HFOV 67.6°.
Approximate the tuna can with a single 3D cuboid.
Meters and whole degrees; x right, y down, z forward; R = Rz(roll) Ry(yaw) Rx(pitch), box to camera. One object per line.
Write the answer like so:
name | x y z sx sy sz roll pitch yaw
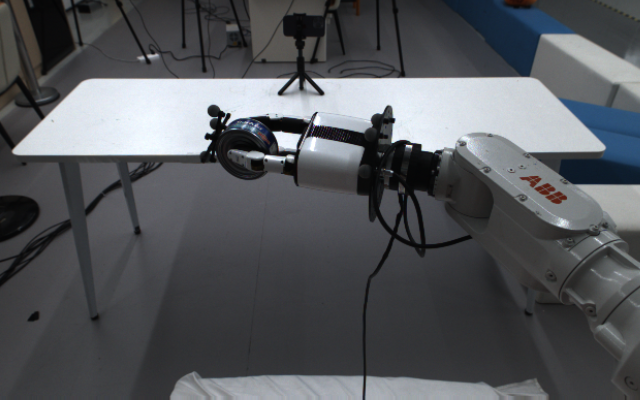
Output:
tuna can | -0.103 -0.071 0.693 0.085 0.085 0.034 8 36 9
